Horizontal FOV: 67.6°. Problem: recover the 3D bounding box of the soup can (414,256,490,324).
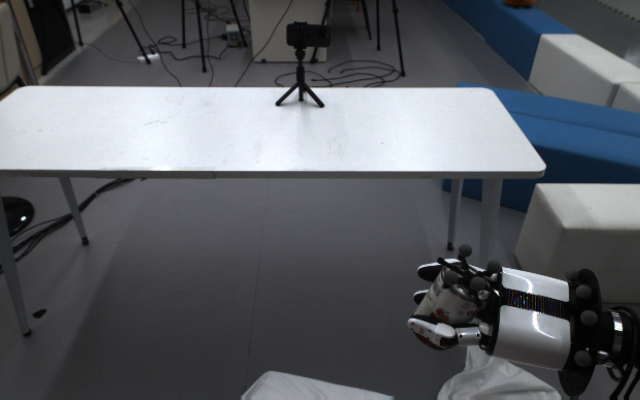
[{"bbox_3d":[0.171,0.139,0.637,0.067,0.101,0.067,14,35,-10],"label":"soup can"}]
